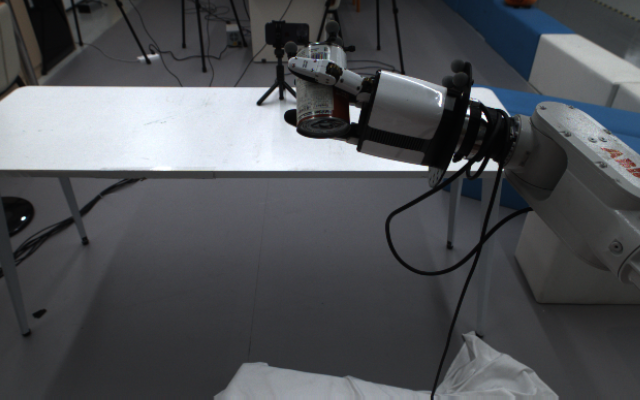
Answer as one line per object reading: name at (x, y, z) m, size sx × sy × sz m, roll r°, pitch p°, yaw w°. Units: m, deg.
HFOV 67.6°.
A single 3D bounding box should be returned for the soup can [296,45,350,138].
soup can at (0.001, -0.139, 0.611) m, size 0.067 × 0.067 × 0.101 m, roll -1°, pitch 77°, yaw -4°
